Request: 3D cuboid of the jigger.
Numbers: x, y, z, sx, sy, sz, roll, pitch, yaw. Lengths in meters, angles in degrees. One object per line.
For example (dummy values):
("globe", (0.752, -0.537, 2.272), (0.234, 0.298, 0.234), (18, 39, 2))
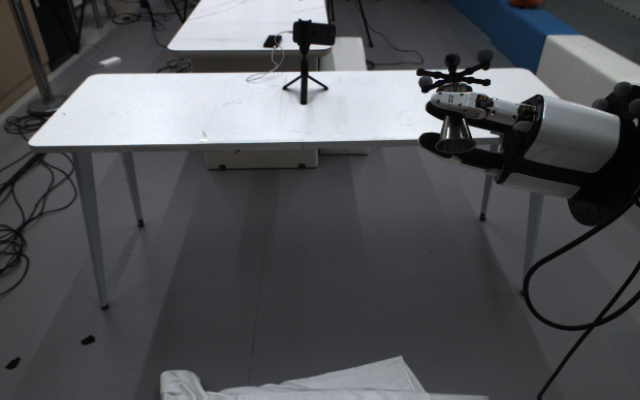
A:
("jigger", (0.150, -0.092, 0.547), (0.043, 0.043, 0.071), (3, 75, 1))
